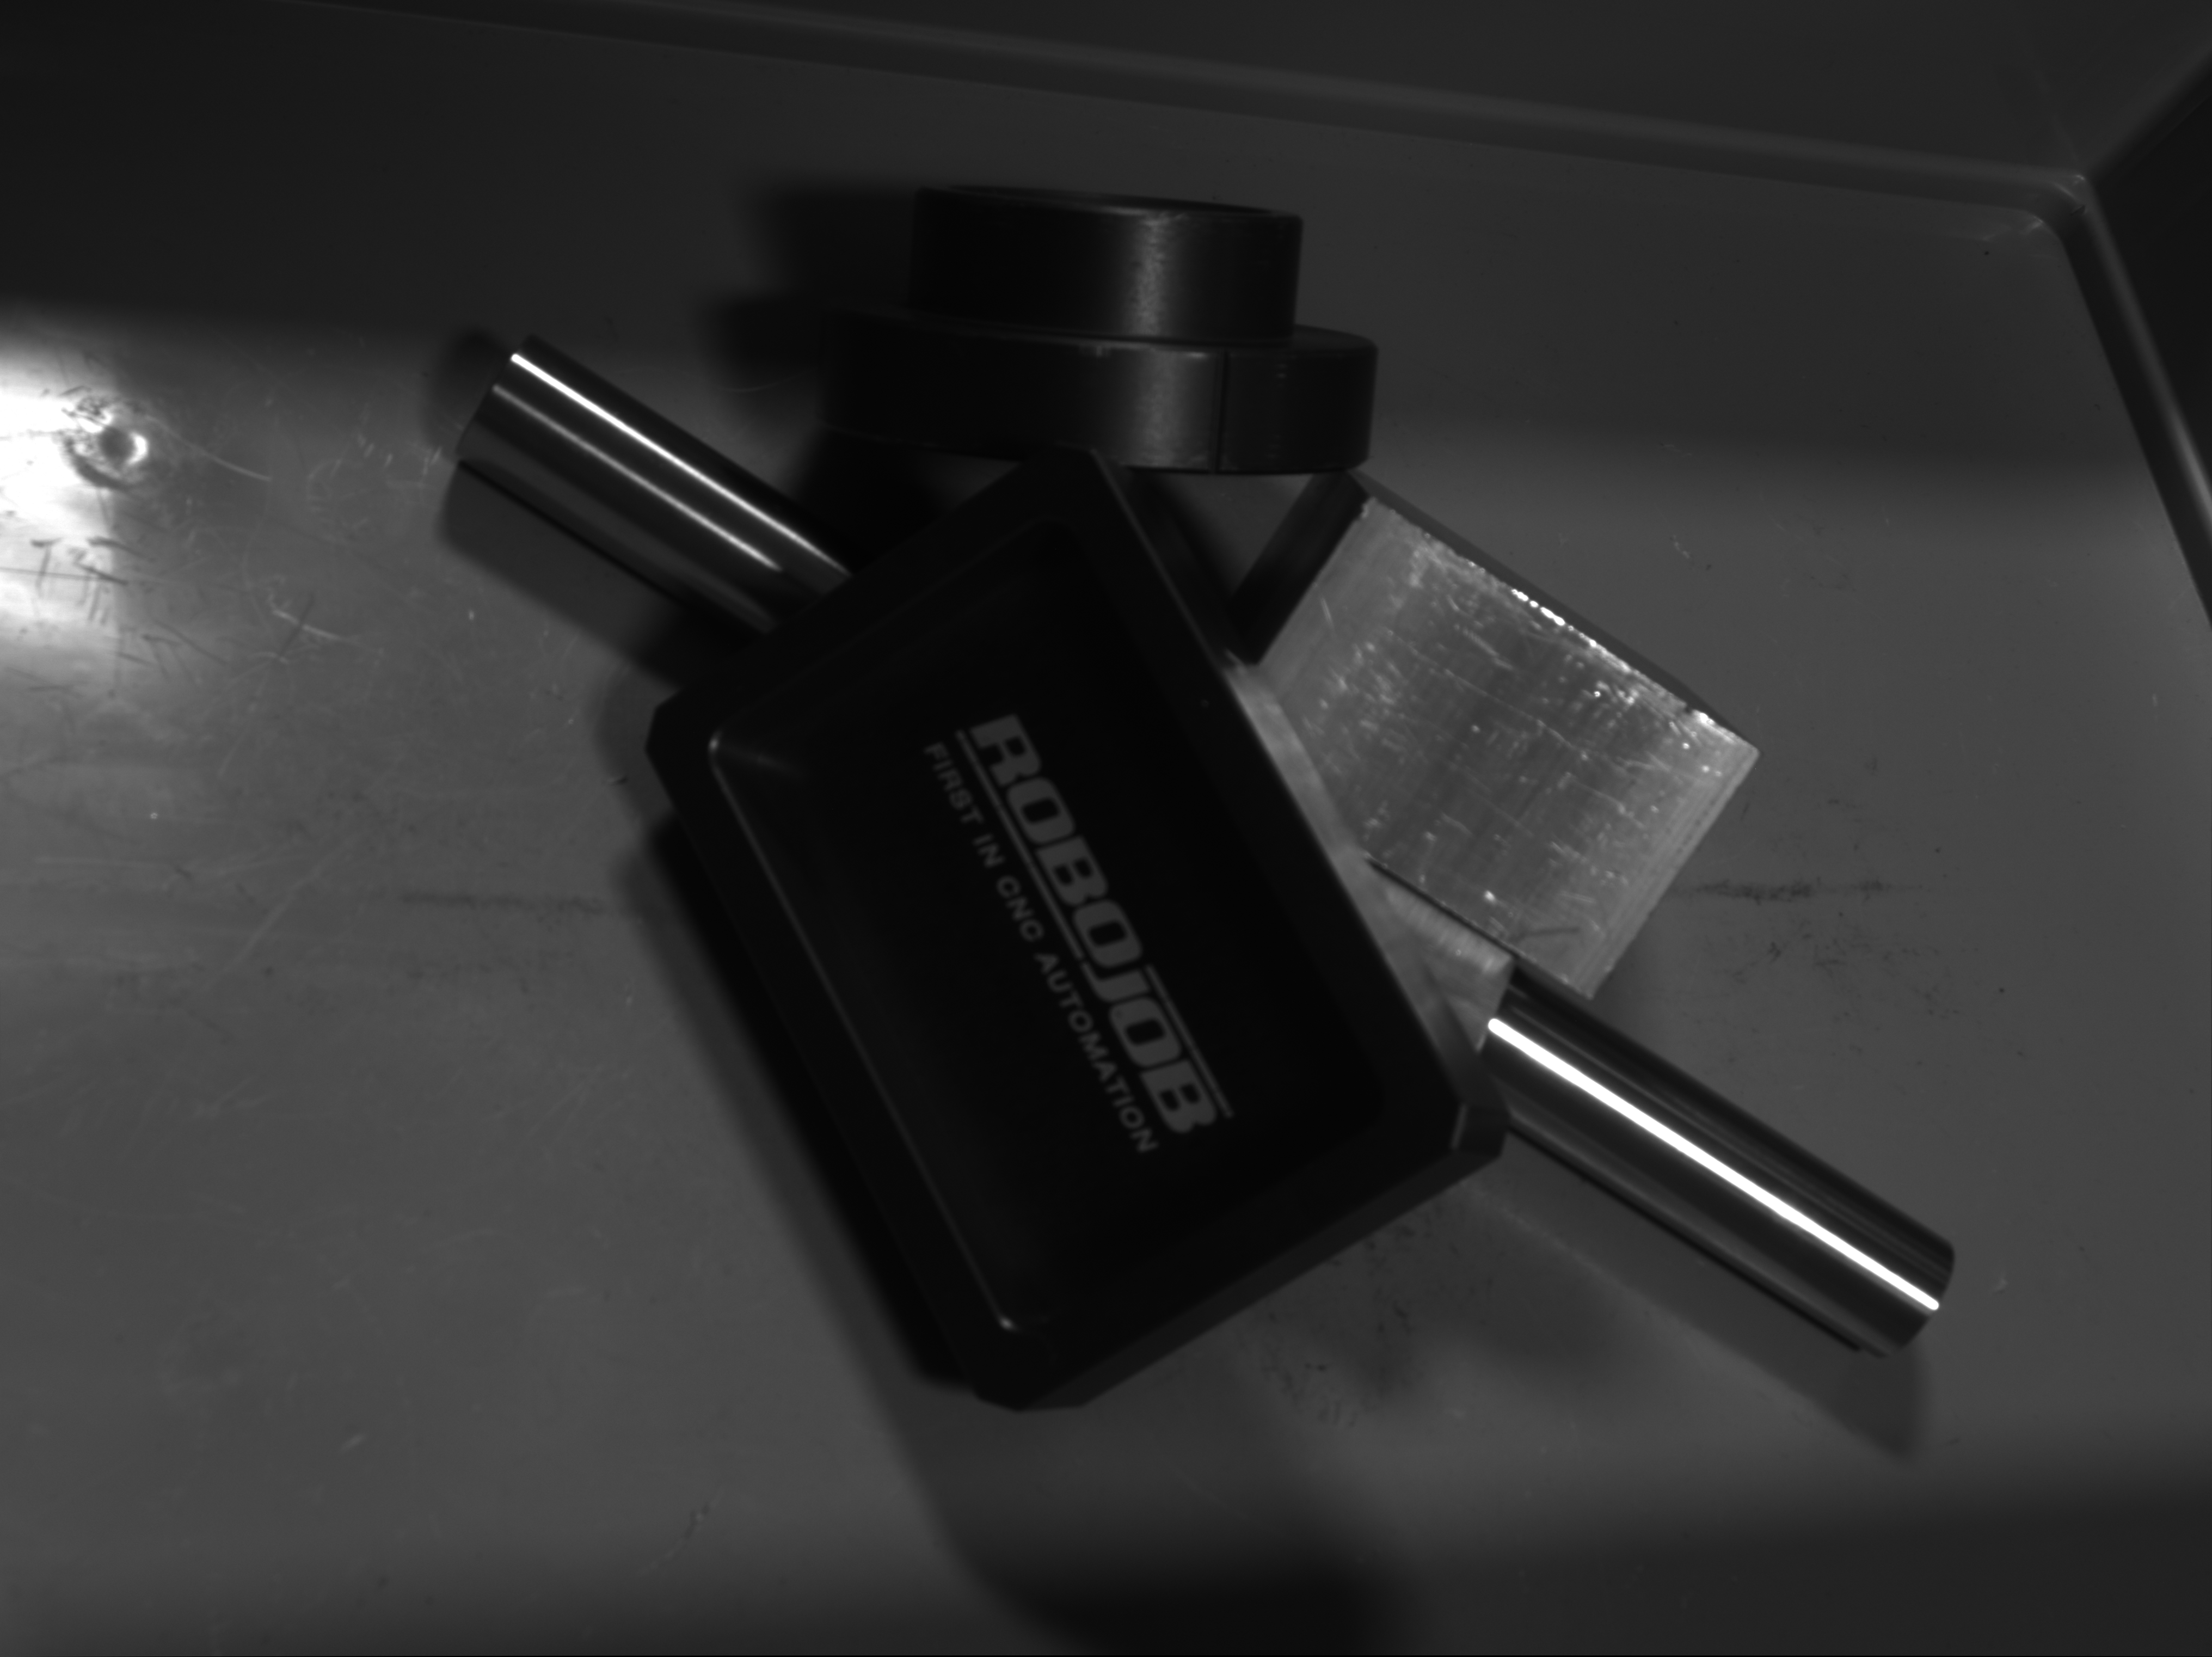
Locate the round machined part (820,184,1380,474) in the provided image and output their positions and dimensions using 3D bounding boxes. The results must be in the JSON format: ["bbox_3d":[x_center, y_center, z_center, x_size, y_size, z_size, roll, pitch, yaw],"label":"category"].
[{"bbox_3d":[0.000,-0.089,0.644,0.098,0.098,0.042,-2,103,-29],"label":"round machined part"}]

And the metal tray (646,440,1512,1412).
[{"bbox_3d":[-0.006,0.016,0.586,0.130,0.090,0.030,61,13,16],"label":"metal tray"}]

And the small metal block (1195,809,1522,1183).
[{"bbox_3d":[0.035,0.028,0.624,0.050,0.050,0.025,33,51,-6],"label":"small metal block"}]

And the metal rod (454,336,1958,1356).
[{"bbox_3d":[0.021,0.005,0.646,0.300,0.025,0.025,32,51,-7],"label":"metal rod"}]

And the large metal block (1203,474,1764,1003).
[{"bbox_3d":[0.061,-0.020,0.642,0.080,0.050,0.080,32,9,-7],"label":"large metal block"}]
